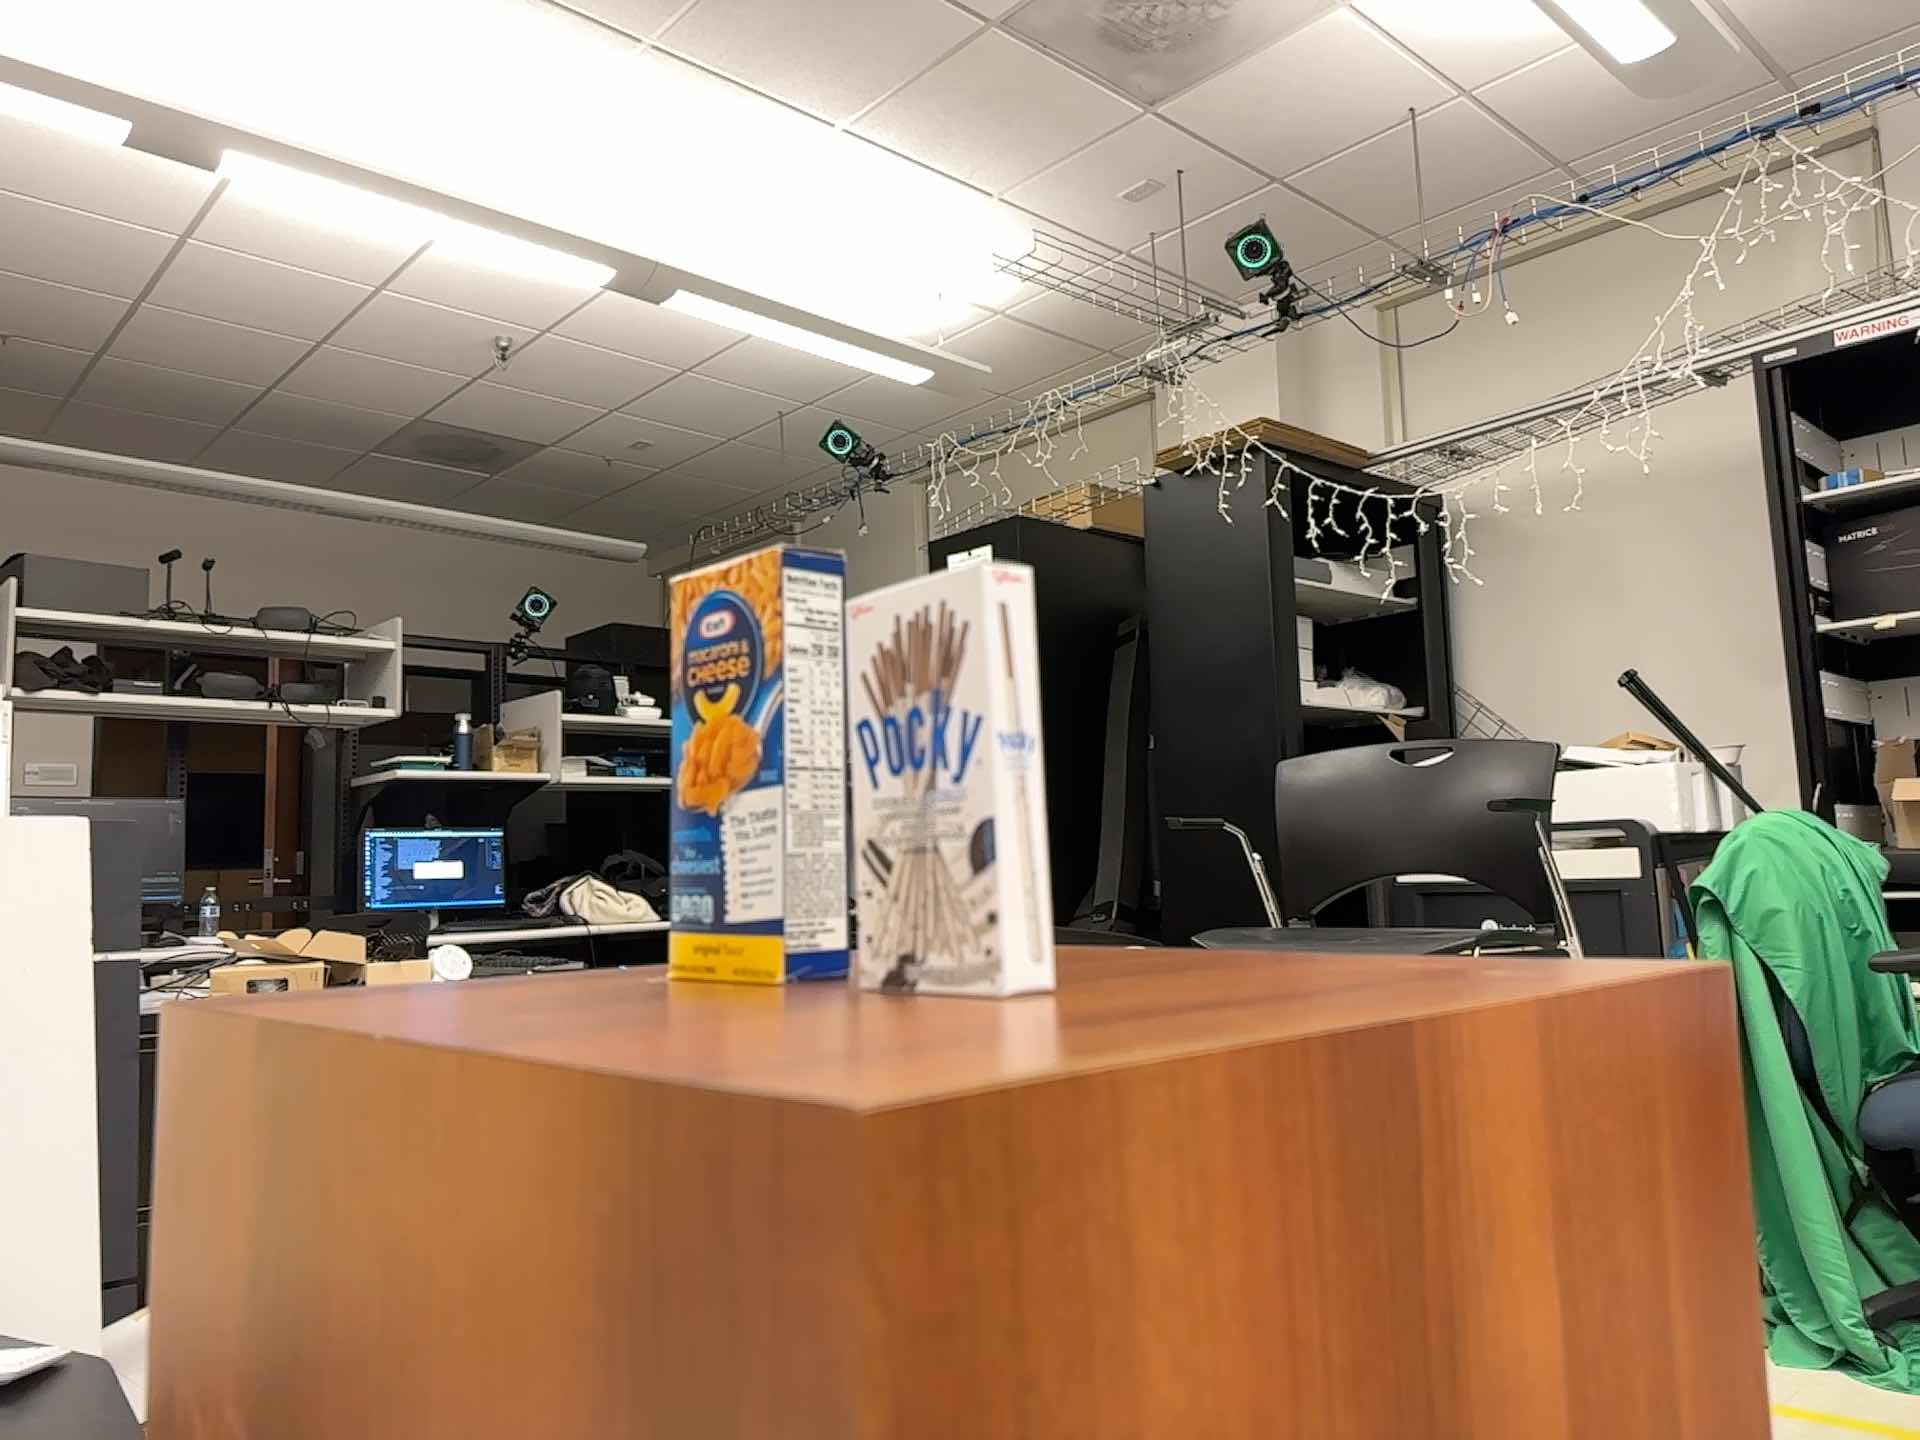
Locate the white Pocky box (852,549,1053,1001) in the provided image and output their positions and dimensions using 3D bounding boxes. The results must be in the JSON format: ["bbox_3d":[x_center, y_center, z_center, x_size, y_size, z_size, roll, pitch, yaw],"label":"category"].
[{"bbox_3d":[-0.005,0.022,0.490,0.028,0.154,0.084,3,-10,-36],"label":"white Pocky box"}]

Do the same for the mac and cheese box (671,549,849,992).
[{"bbox_3d":[-0.090,0.026,0.595,0.035,0.181,0.088,6,-12,-39],"label":"mac and cheese box"}]
